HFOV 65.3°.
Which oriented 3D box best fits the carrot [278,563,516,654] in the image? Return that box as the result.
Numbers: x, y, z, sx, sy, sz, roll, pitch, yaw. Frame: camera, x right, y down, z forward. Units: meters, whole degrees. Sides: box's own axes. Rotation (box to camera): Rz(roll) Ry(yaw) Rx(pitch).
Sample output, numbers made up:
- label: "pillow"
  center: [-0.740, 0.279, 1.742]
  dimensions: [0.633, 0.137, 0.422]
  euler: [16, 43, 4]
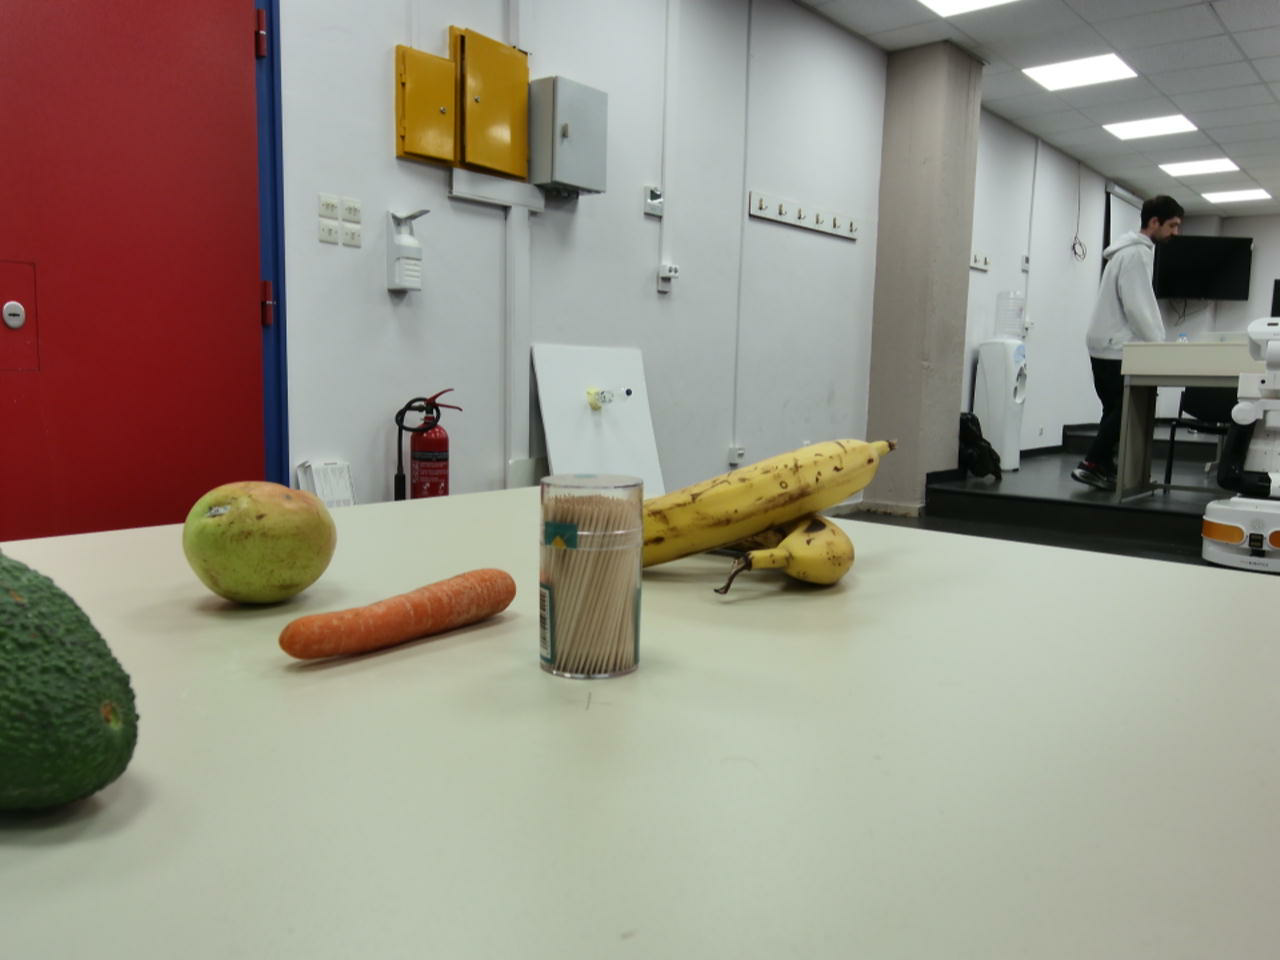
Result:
- label: "carrot"
  center: [-0.100, 0.054, 0.430]
  dimensions: [0.024, 0.023, 0.122]
  euler: [3, 6, 37]
